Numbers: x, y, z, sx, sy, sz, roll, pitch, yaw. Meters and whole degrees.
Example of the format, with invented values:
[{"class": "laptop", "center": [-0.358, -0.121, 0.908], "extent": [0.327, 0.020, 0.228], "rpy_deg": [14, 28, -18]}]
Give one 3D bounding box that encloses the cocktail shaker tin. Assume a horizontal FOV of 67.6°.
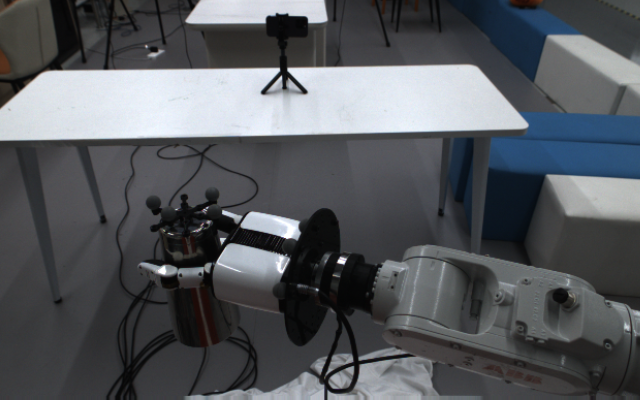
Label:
[{"class": "cocktail shaker tin", "center": [-0.155, 0.094, 0.624], "extent": [0.093, 0.170, 0.093], "rpy_deg": [-1, 32, 1]}]
